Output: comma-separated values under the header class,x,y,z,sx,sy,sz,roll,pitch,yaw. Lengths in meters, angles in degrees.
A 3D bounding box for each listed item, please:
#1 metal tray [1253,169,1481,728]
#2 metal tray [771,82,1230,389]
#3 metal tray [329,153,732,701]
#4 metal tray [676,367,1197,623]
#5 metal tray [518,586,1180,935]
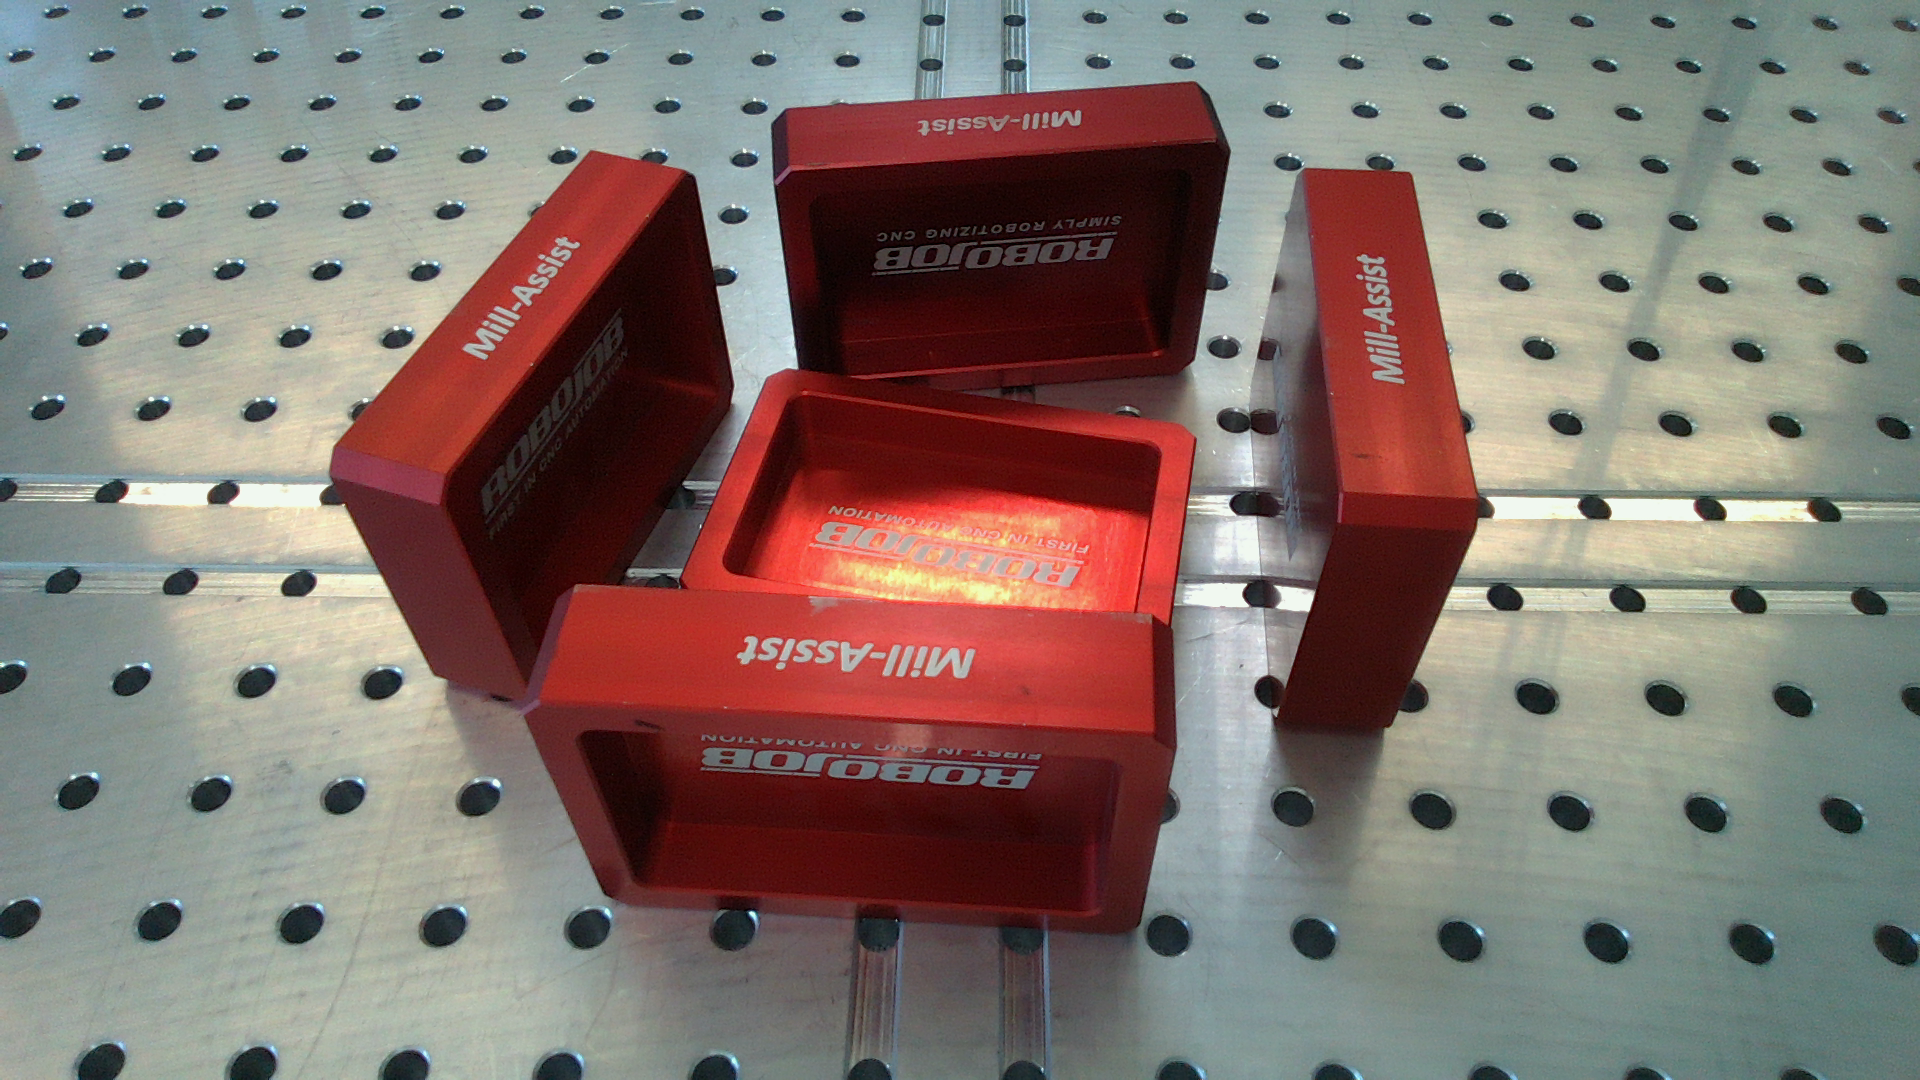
class,x,y,z,sx,sy,sz,roll,pitch,yaw
metal tray,0.104,-0.027,0.374,0.030,0.090,0.130,4,50,3
metal tray,0.011,-0.090,0.428,0.130,0.090,0.030,-5,50,-4
metal tray,-0.109,-0.032,0.379,0.030,0.090,0.130,14,51,12
metal tray,-0.003,0.000,0.391,0.130,0.030,0.090,9,50,7
metal tray,-0.021,0.052,0.308,0.130,0.090,0.030,3,50,3
